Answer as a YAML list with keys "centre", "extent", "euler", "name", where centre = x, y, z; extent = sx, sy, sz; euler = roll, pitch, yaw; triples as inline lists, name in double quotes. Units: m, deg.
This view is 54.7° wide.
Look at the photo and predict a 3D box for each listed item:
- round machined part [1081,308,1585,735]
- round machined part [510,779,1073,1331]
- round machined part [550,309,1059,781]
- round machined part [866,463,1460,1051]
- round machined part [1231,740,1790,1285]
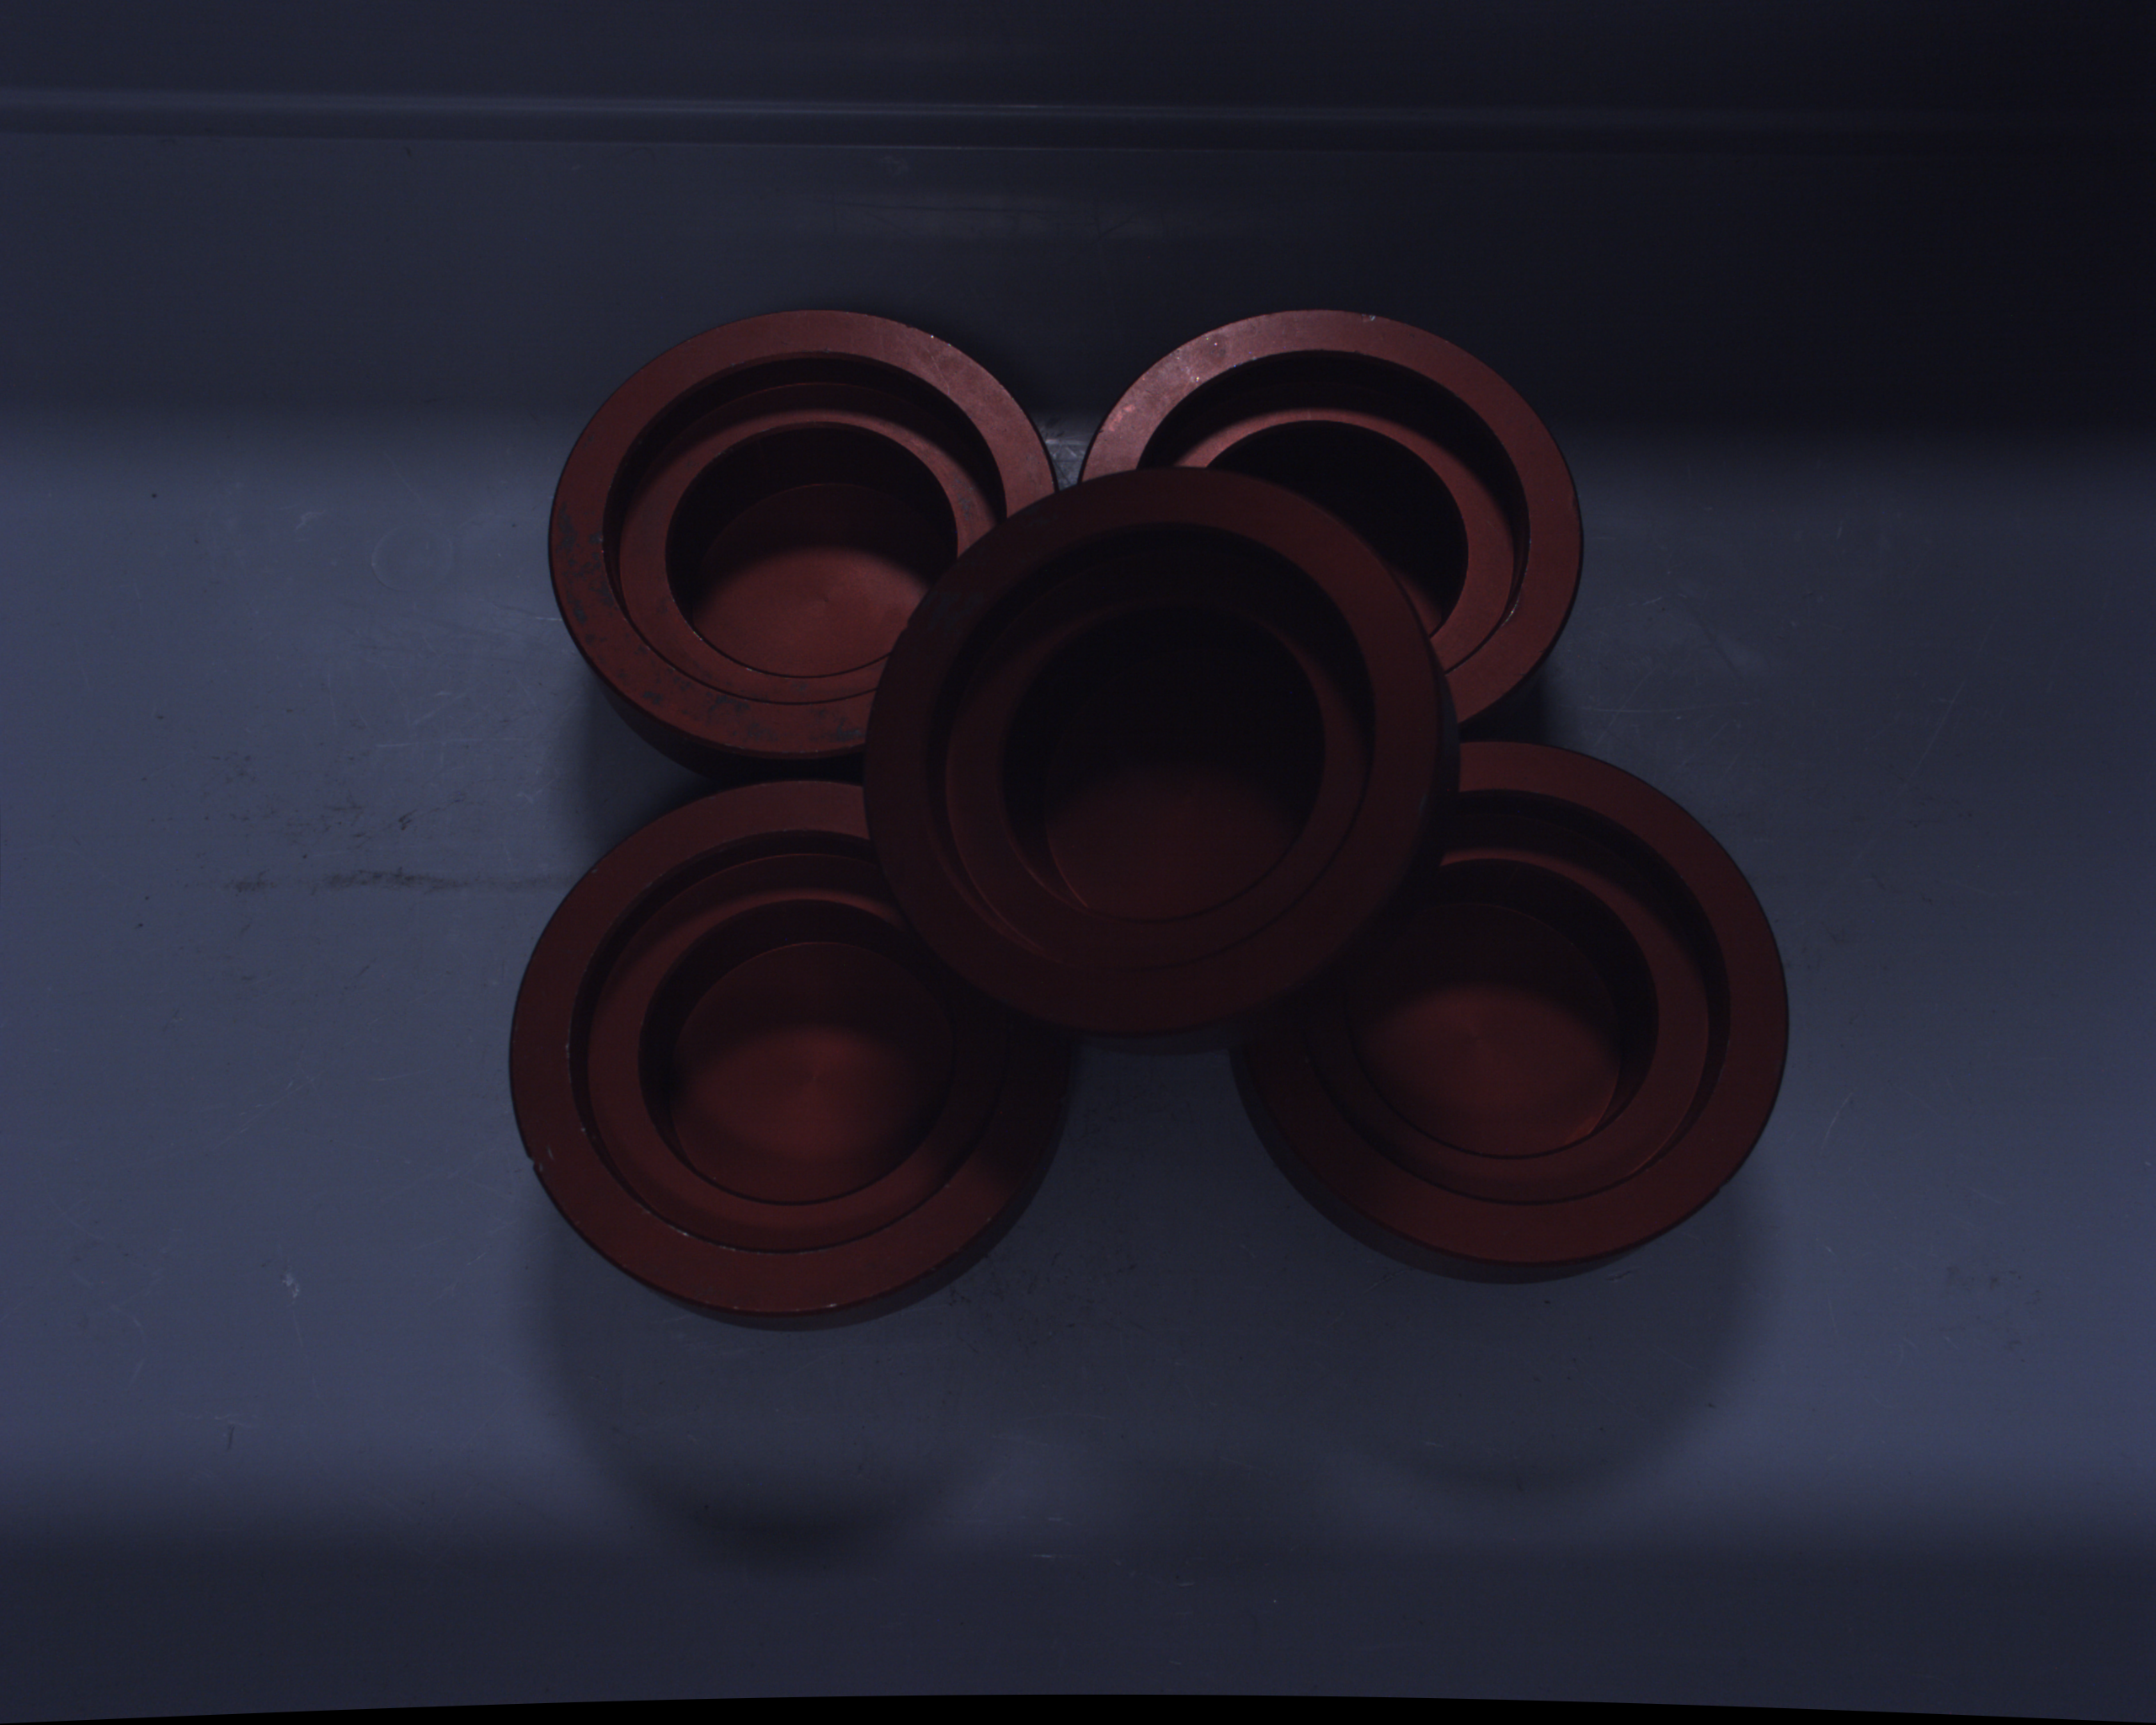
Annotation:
- centre: [0.048, -0.059, 0.421]
  extent: [0.099, 0.042, 0.098]
  euler: [0, 70, -1]
  name: "round machined part"
- centre: [-0.050, 0.037, 0.385]
  extent: [0.099, 0.042, 0.098]
  euler: [0, 70, -1]
  name: "round machined part"
- centre: [-0.052, -0.058, 0.419]
  extent: [0.099, 0.042, 0.098]
  euler: [0, 70, -1]
  name: "round machined part"
- centre: [0.017, -0.015, 0.359]
  extent: [0.098, 0.042, 0.098]
  euler: [-5, 74, 17]
  name: "round machined part"
- centre: [0.077, 0.030, 0.389]
  extent: [0.099, 0.042, 0.098]
  euler: [0, 70, -1]
  name: "round machined part"
